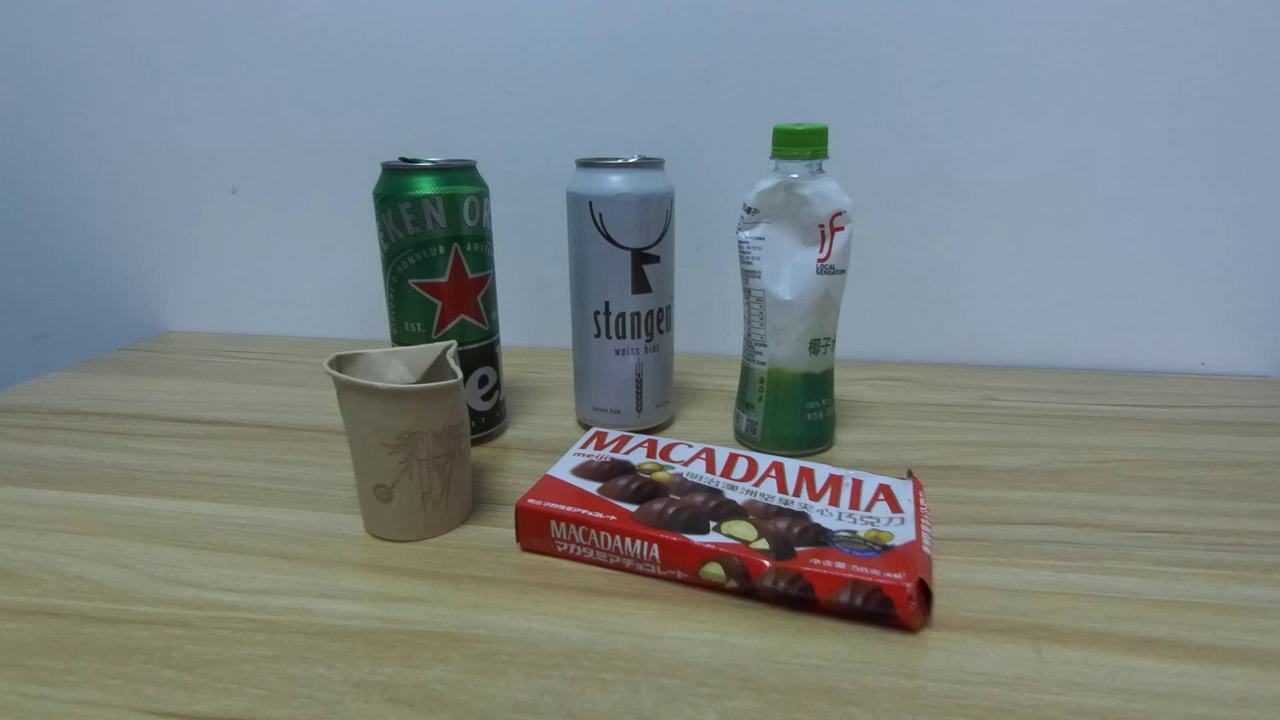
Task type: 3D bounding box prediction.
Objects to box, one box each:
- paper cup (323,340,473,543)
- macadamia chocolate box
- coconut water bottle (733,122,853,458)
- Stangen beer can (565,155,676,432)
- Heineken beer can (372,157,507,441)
[{"bbox_3d":[-0.116,0.040,0.348,0.066,0.084,0.071,-5,18,-14],"label":"paper cup"},{"bbox_3d":[0.043,0.074,0.341,0.182,0.028,0.106,6,21,16],"label":"macadamia chocolate box"},{"bbox_3d":[0.090,-0.041,0.418,0.069,0.187,0.069,1,18,0],"label":"coconut water bottle"},{"bbox_3d":[-0.011,-0.039,0.451,0.067,0.171,0.067,0,16,0],"label":"Stangen beer can"},{"bbox_3d":[-0.122,-0.034,0.438,0.067,0.169,0.067,-1,18,1],"label":"Heineken beer can"}]
